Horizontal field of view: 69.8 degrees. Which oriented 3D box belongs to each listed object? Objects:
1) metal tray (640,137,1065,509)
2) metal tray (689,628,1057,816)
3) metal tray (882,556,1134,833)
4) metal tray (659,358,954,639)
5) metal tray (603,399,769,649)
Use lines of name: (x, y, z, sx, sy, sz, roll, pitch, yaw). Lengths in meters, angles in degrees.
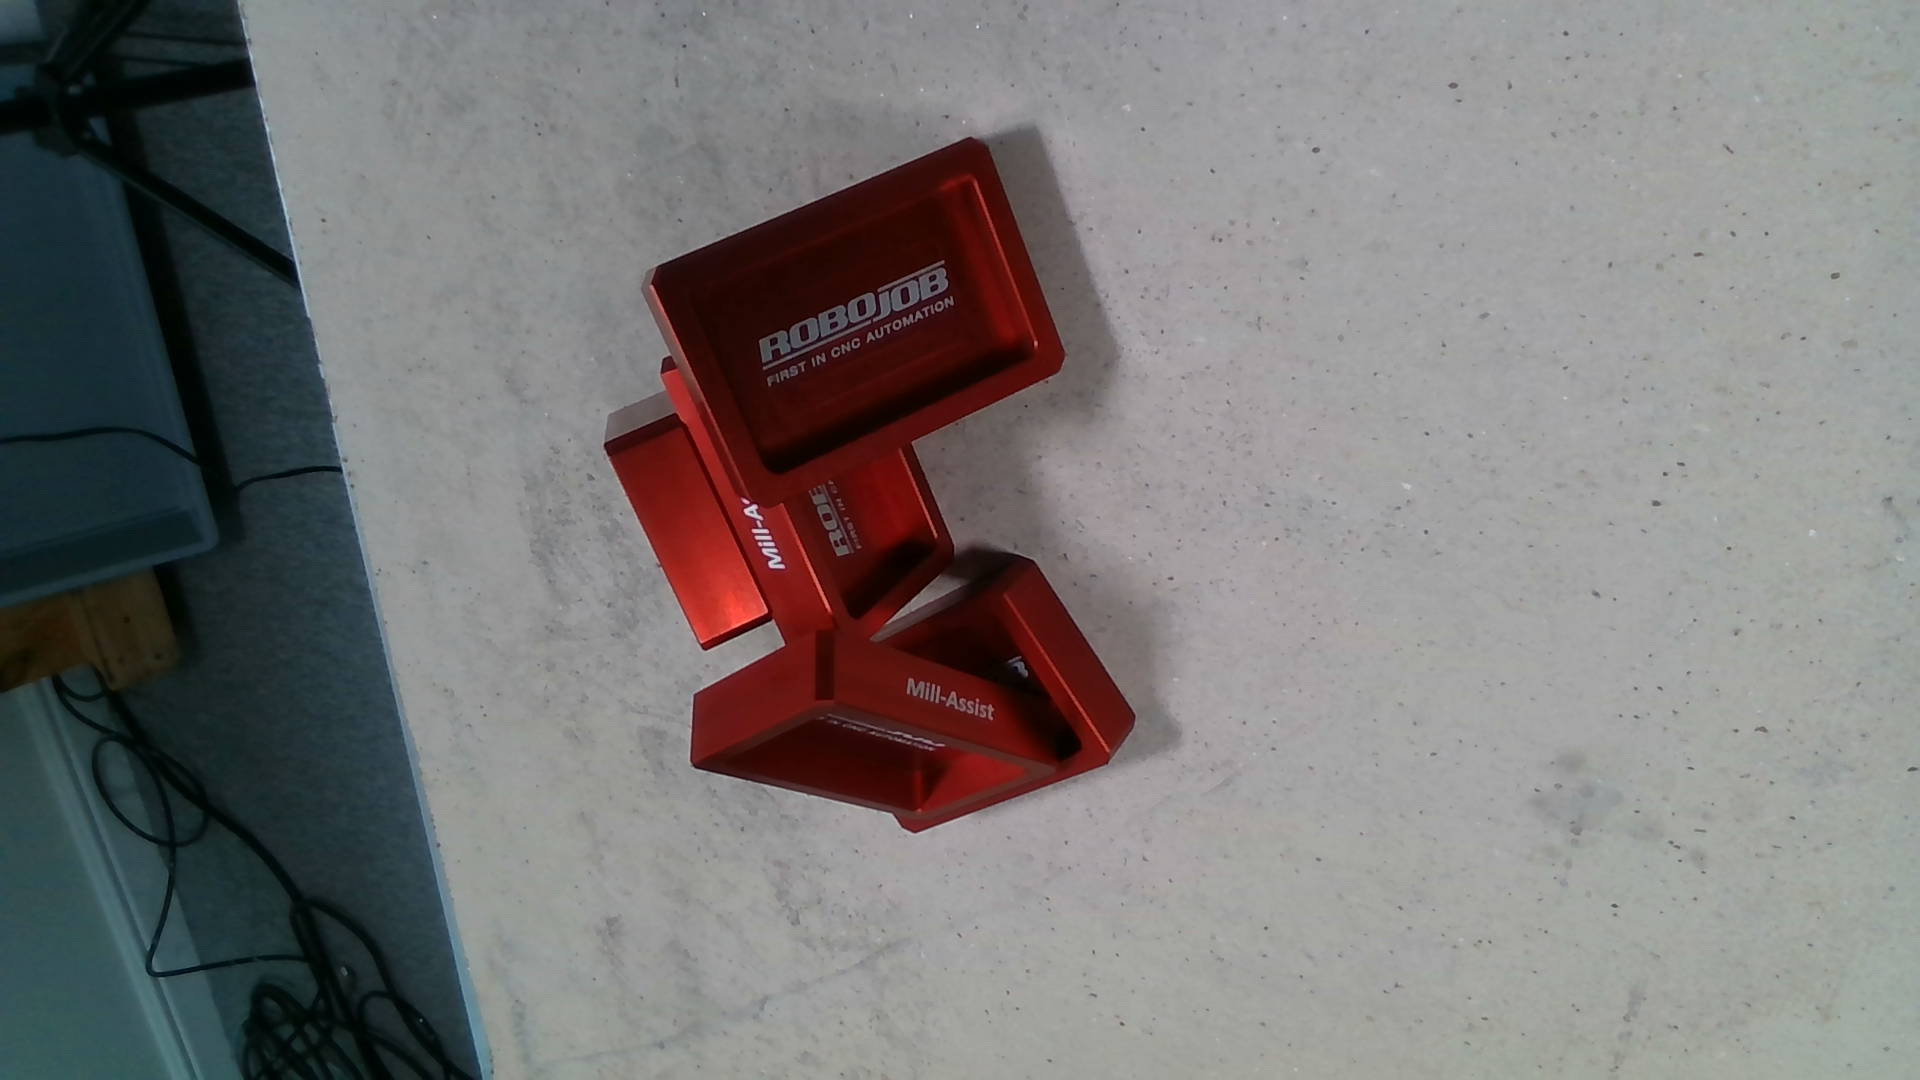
metal tray: (-0.037, -0.079, 0.498, 0.090, 0.130, 0.030, 67, 166, -15)
metal tray: (-0.035, 0.080, 0.573, 0.130, 0.030, 0.090, 22, 144, -39)
metal tray: (0.002, 0.072, 0.615, 0.130, 0.030, 0.090, -28, 98, 39)
metal tray: (-0.058, -0.029, 0.557, 0.030, 0.090, 0.130, -12, 108, 36)
metal tray: (-0.119, -0.013, 0.589, 0.130, 0.030, 0.090, -143, 29, -73)
